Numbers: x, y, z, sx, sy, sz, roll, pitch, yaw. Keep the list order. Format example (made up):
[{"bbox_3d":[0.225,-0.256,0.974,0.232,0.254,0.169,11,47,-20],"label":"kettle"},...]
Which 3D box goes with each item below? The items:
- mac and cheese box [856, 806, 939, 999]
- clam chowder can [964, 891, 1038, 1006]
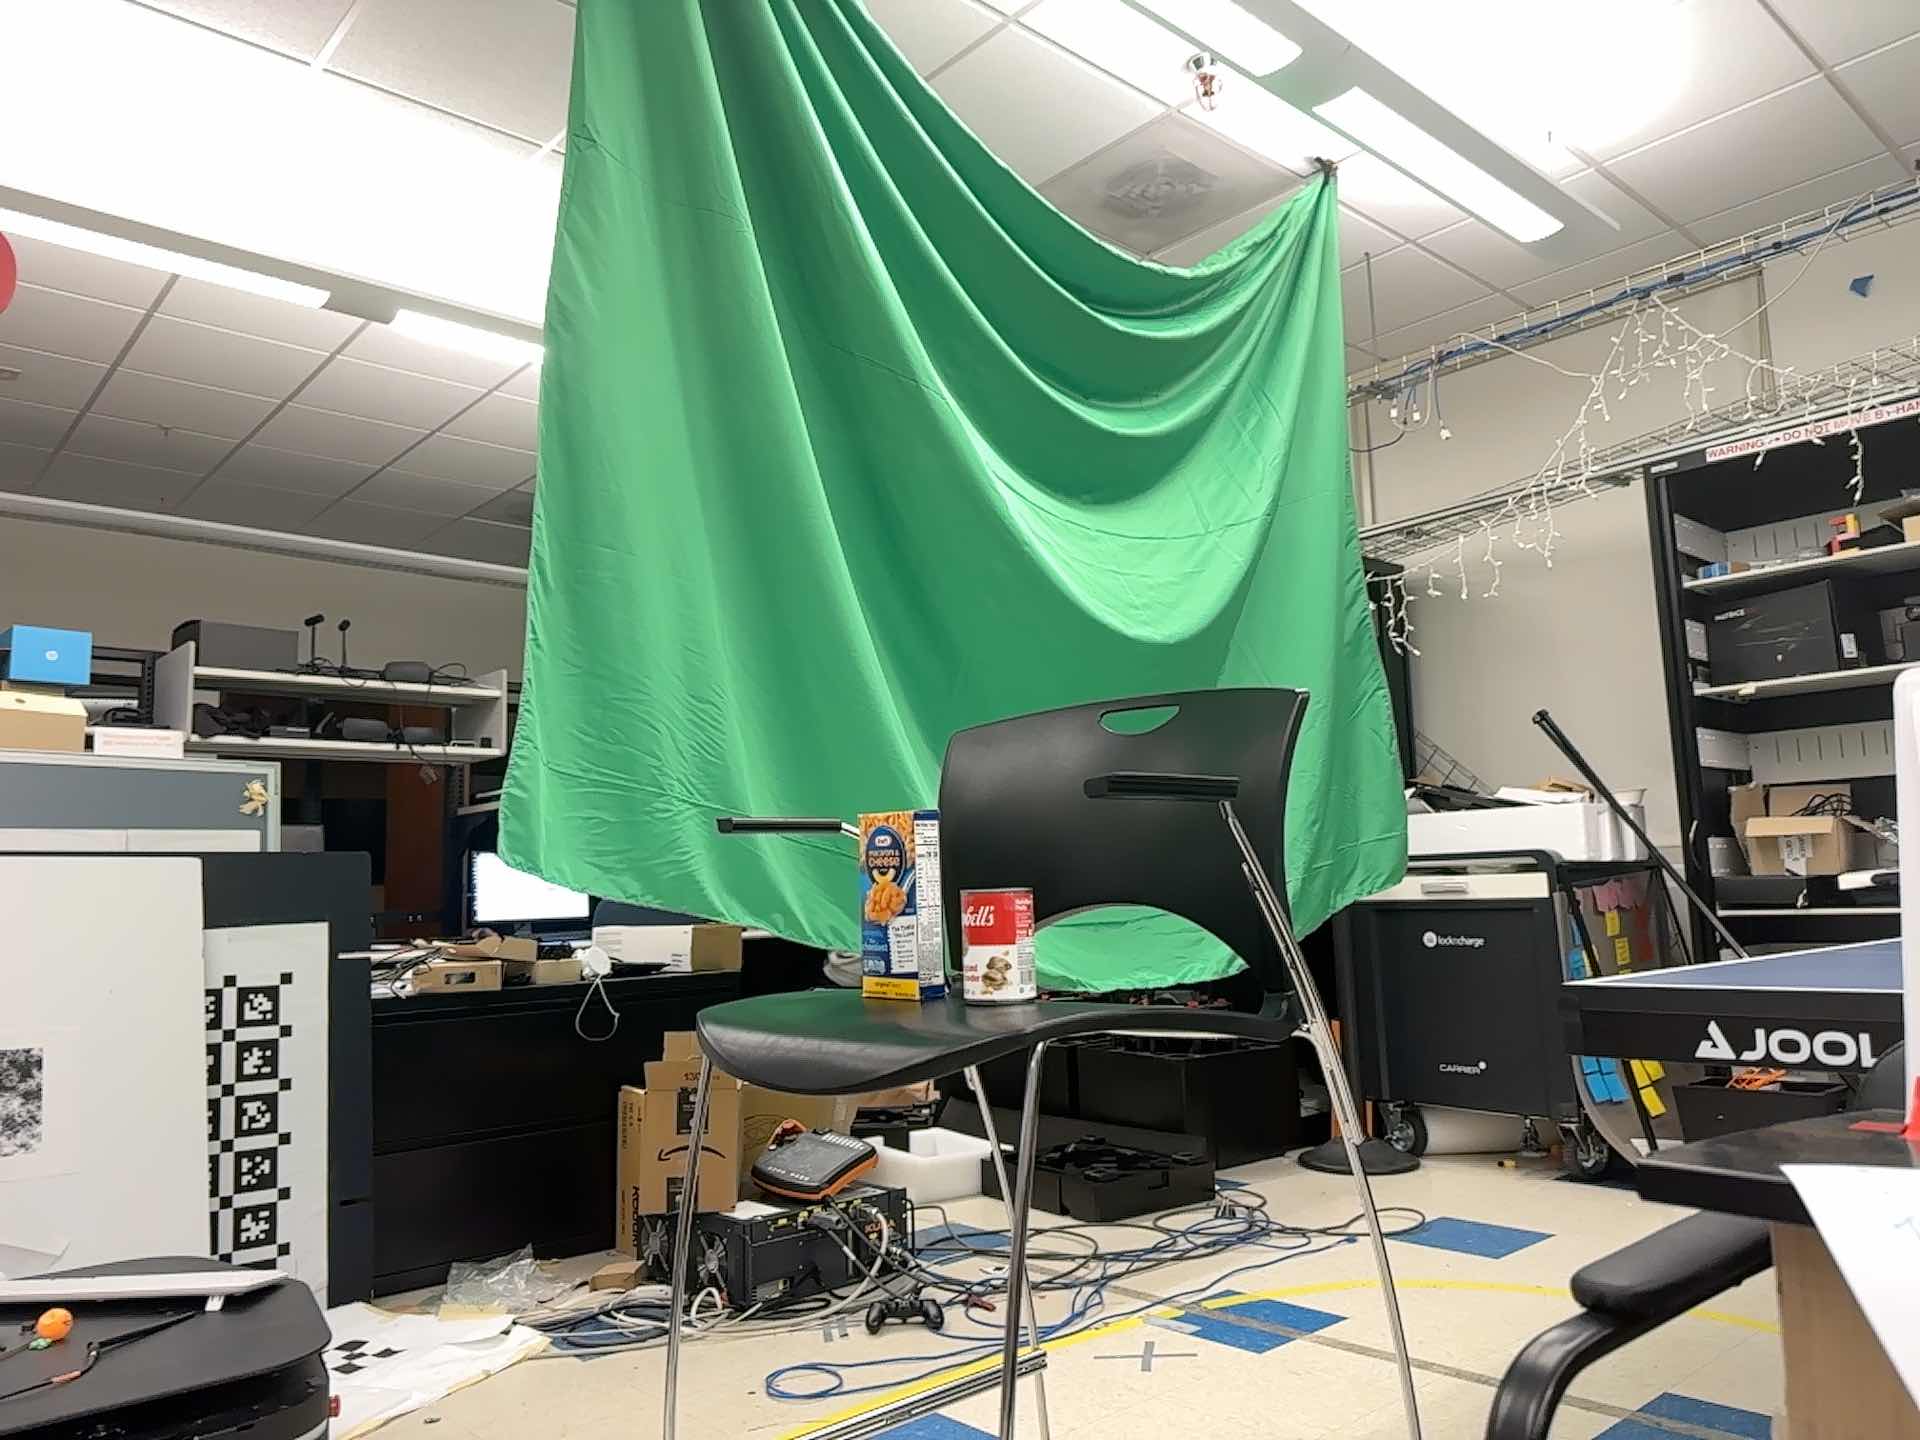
[{"bbox_3d":[-0.063,0.179,1.336,0.035,0.181,0.088,1,-6,-36],"label":"mac and cheese box"},{"bbox_3d":[0.038,0.209,1.241,0.068,0.102,0.068,-1,-7,0],"label":"clam chowder can"}]
